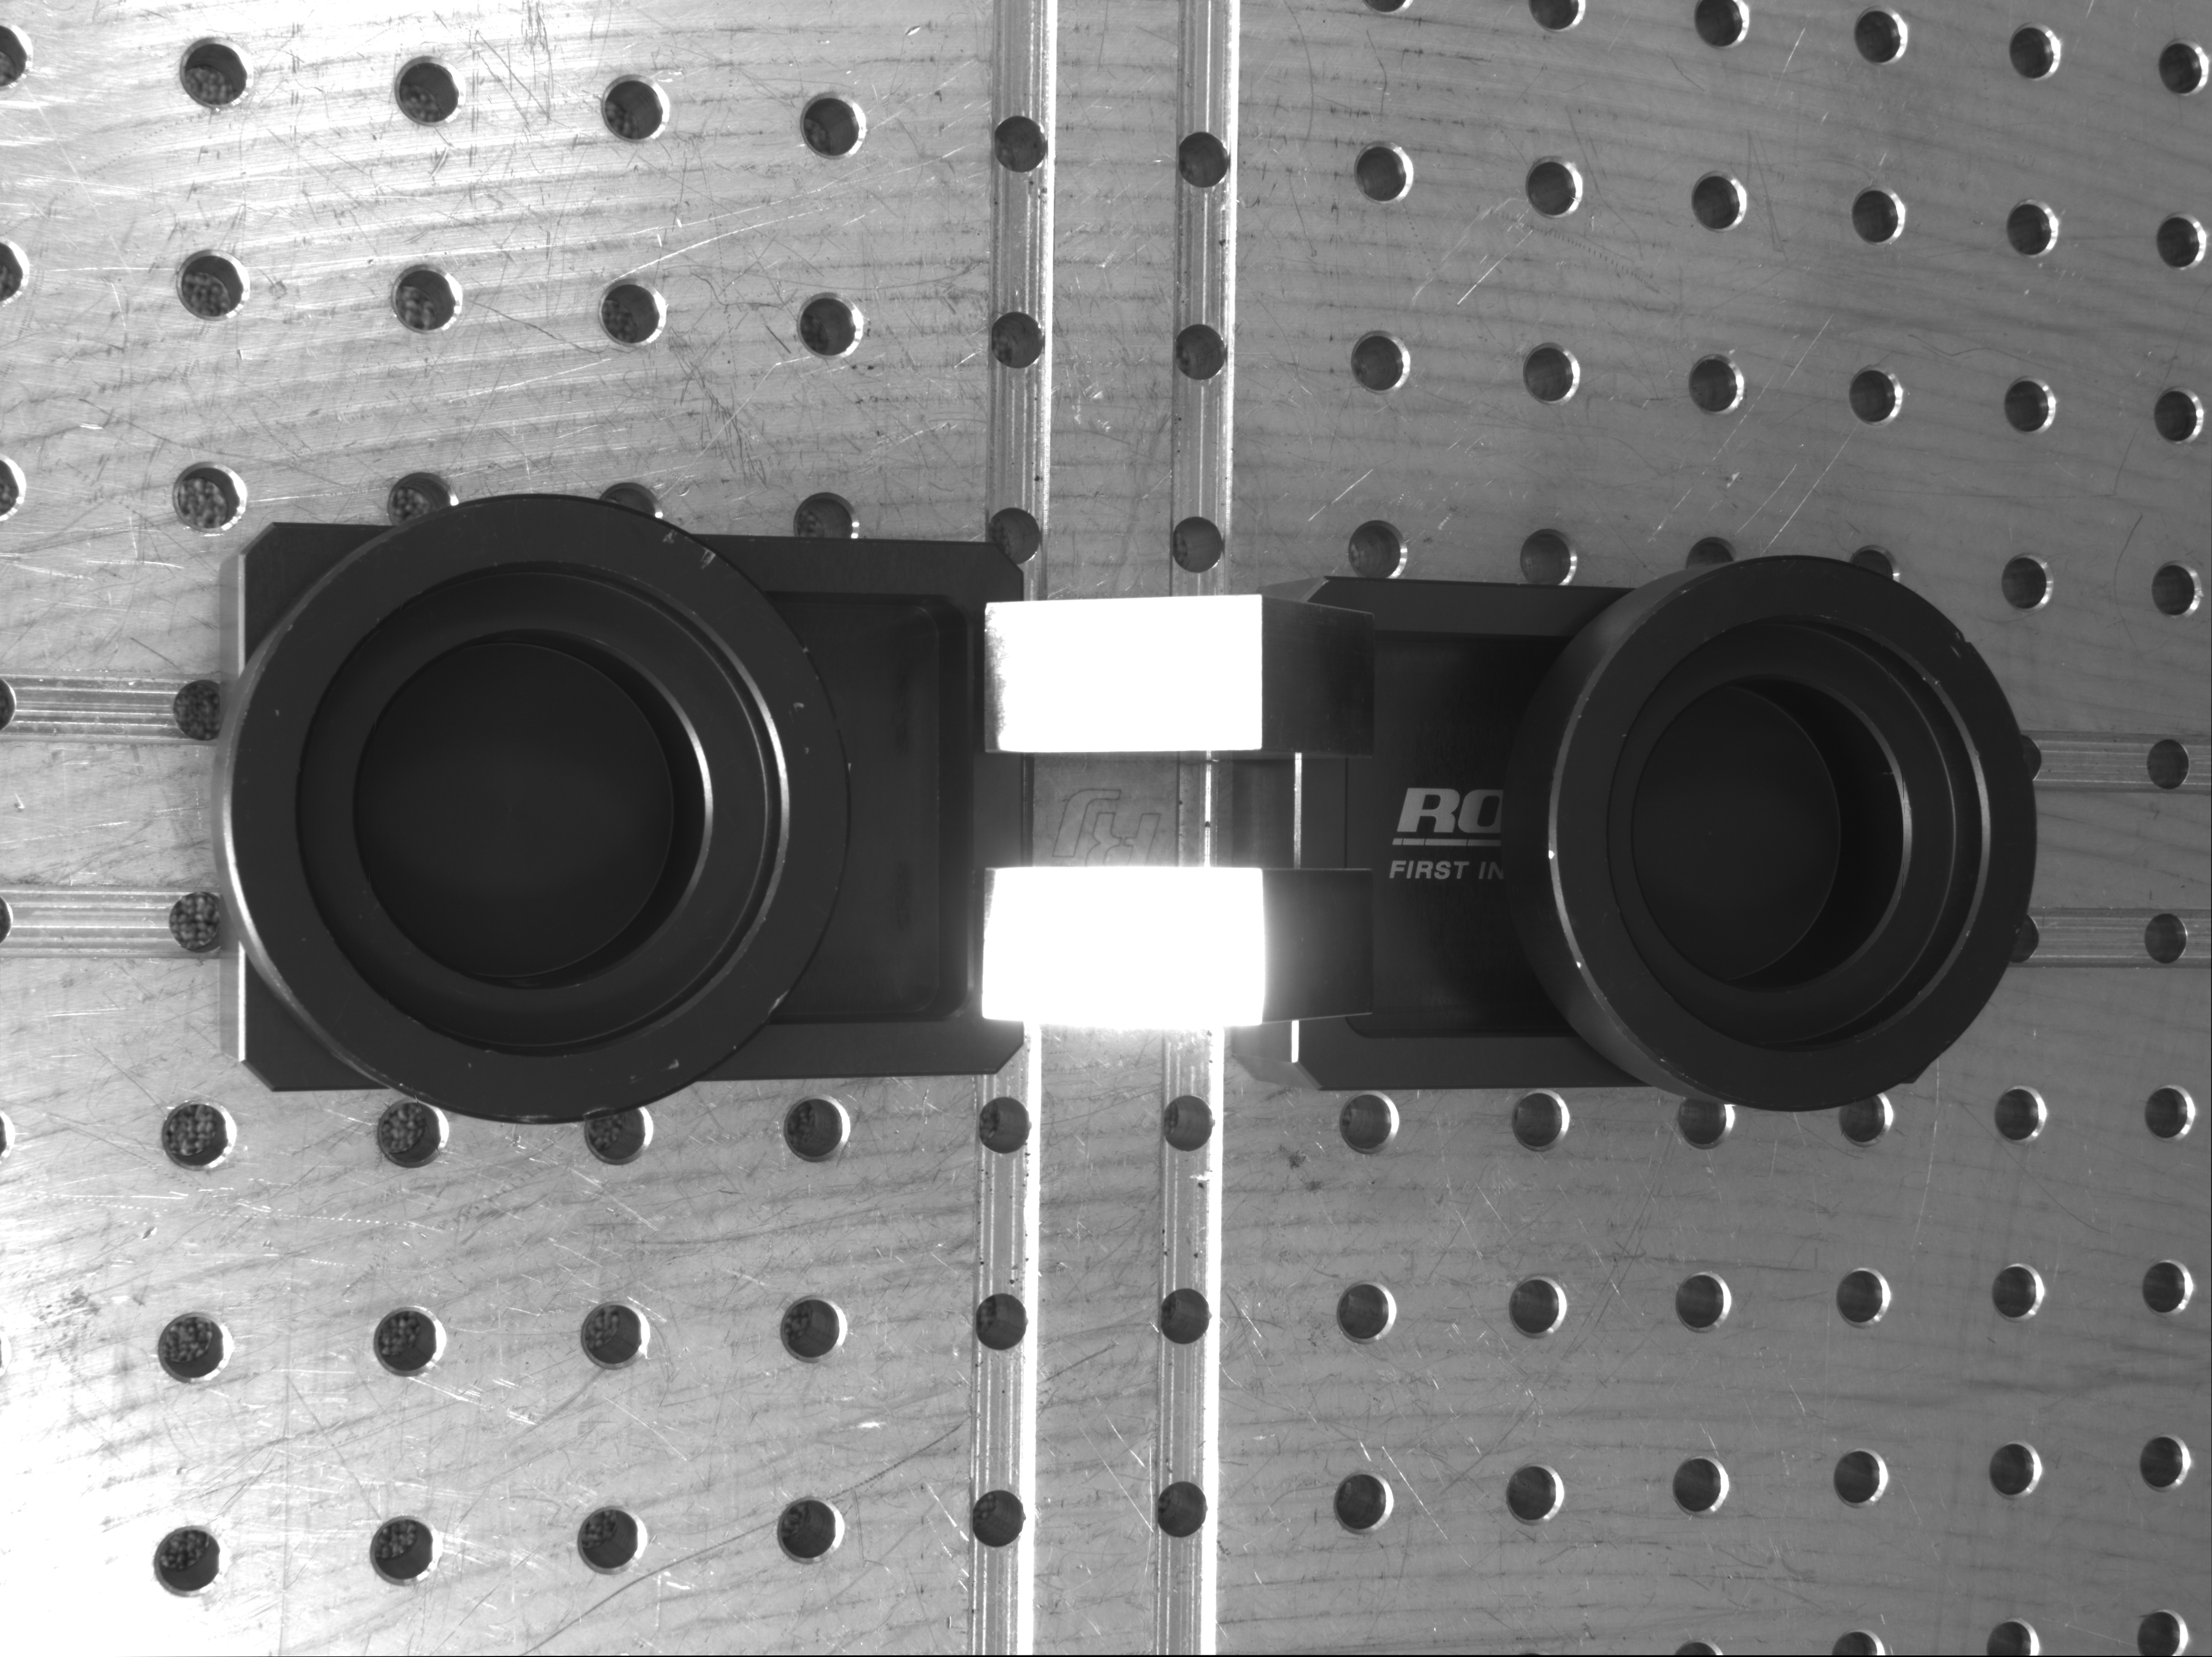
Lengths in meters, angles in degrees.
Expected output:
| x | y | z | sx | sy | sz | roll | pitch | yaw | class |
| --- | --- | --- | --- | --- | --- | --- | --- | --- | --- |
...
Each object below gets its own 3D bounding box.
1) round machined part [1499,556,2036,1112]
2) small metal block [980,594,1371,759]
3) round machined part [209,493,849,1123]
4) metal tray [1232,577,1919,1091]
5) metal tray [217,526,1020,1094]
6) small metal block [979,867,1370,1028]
| x | y | z | sx | sy | sz | roll | pitch | yaw | class |
| --- | --- | --- | --- | --- | --- | --- | --- | --- | --- |
| 0.115 | 0.001 | 0.665 | 0.098 | 0.042 | 0.098 | 0 | 90 | -20 | round machined part |
| 0.012 | -0.025 | 0.621 | 0.050 | 0.050 | 0.025 | 1 | 90 | 25 | small metal block |
| -0.094 | -0.003 | 0.589 | 0.098 | 0.042 | 0.098 | 0 | 90 | -20 | round machined part |
| 0.089 | 0.002 | 0.676 | 0.130 | 0.030 | 0.090 | 1 | 90 | -20 | metal tray |
| -0.081 | -0.004 | 0.614 | 0.130 | 0.030 | 0.090 | -1 | 92 | -20 | metal tray |
| 0.012 | 0.020 | 0.621 | 0.050 | 0.050 | 0.025 | 1 | 90 | 25 | small metal block |
